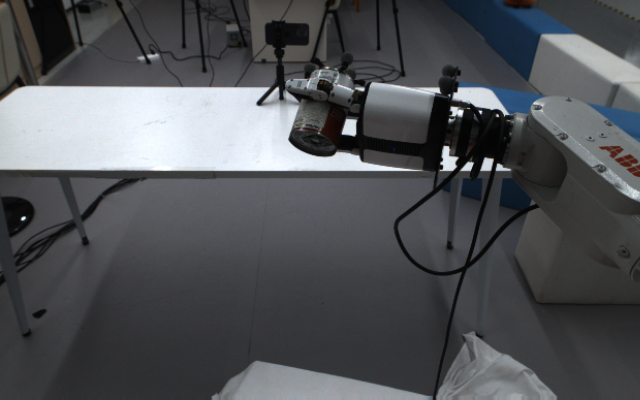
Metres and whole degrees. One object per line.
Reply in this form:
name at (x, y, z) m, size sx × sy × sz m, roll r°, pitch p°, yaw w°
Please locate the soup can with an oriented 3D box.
soup can at (0.003, -0.120, 0.657) m, size 0.067 × 0.067 × 0.101 m, roll 12°, pitch 70°, yaw 14°
